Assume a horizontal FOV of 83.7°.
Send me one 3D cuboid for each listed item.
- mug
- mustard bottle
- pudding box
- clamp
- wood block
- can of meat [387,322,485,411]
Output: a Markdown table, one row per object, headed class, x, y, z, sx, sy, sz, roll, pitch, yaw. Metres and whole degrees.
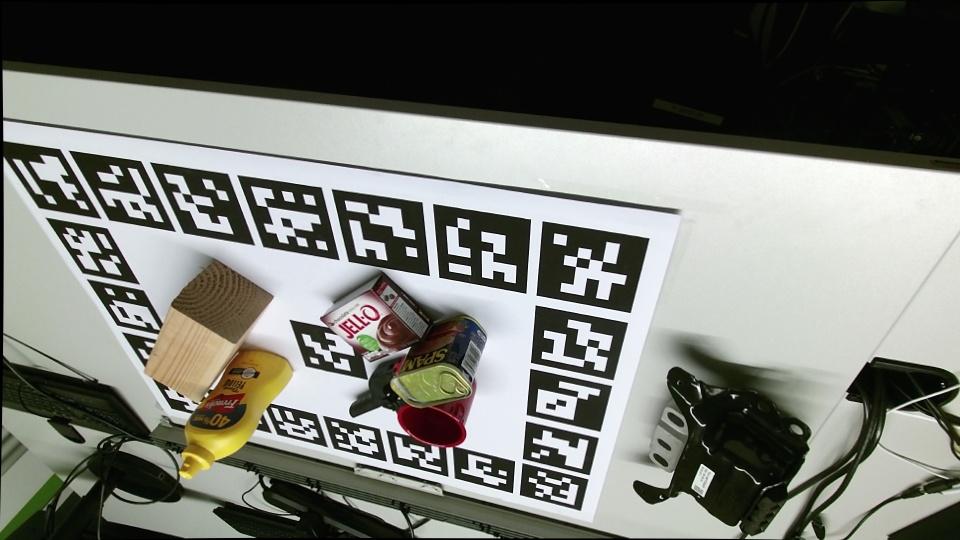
| class | x | y | z | sx | sy | sz | roll | pitch | yaw |
| --- | --- | --- | --- | --- | --- | --- | --- | --- | --- |
| mug | -0.052 | 0.180 | 0.731 | 0.093 | 0.081 | 0.117 | 26 | 129 | -3 |
| mustard bottle | -0.360 | 0.213 | 0.758 | 0.096 | 0.191 | 0.058 | 5 | 128 | 14 |
| pudding box | -0.137 | 0.066 | 0.667 | 0.114 | 0.038 | 0.090 | -27 | 115 | 35 |
| clamp | -0.131 | 0.196 | 0.776 | 0.122 | 0.036 | 0.165 | 25 | 129 | 0 |
| wood block | -0.386 | 0.093 | 0.744 | 0.090 | 0.090 | 0.206 | 36 | 132 | -14 |
| can of meat | -0.049 | 0.115 | 0.640 | 0.102 | 0.083 | 0.058 | -18 | 119 | 30 |
